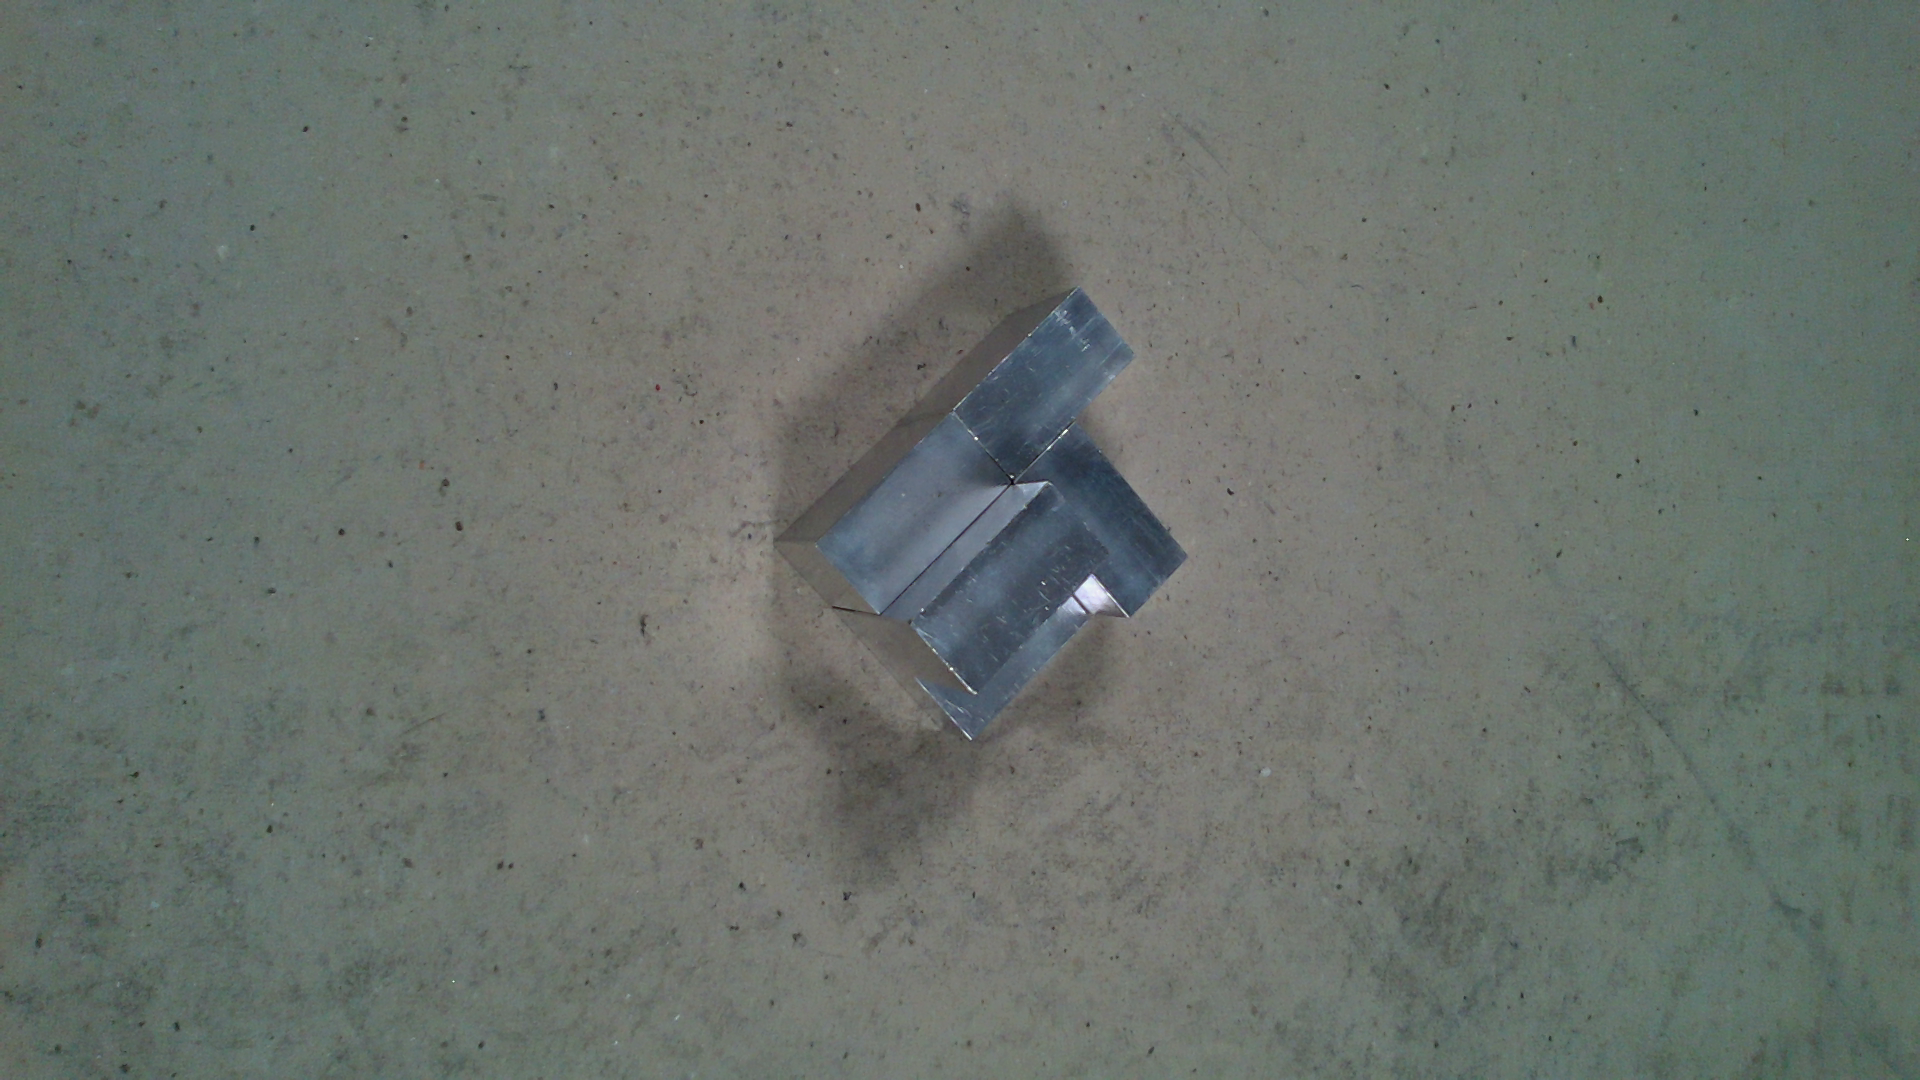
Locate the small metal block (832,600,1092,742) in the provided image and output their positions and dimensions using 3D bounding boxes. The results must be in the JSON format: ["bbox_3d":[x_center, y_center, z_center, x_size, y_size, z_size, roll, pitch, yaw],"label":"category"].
[{"bbox_3d":[0.000,0.021,0.394,0.050,0.025,0.050,-44,104,-14],"label":"small metal block"}]

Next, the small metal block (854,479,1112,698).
[{"bbox_3d":[0.004,0.011,0.355,0.050,0.050,0.025,-46,104,-14],"label":"small metal block"}]

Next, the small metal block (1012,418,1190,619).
[{"bbox_3d":[0.030,-0.006,0.391,0.025,0.050,0.050,-45,104,-14],"label":"small metal block"}]

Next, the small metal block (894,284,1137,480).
[{"bbox_3d":[0.014,-0.042,0.385,0.050,0.050,0.025,-46,104,-14],"label":"small metal block"}]

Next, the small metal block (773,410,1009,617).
[{"bbox_3d":[-0.020,-0.007,0.373,0.050,0.050,0.025,-46,104,-14],"label":"small metal block"}]
